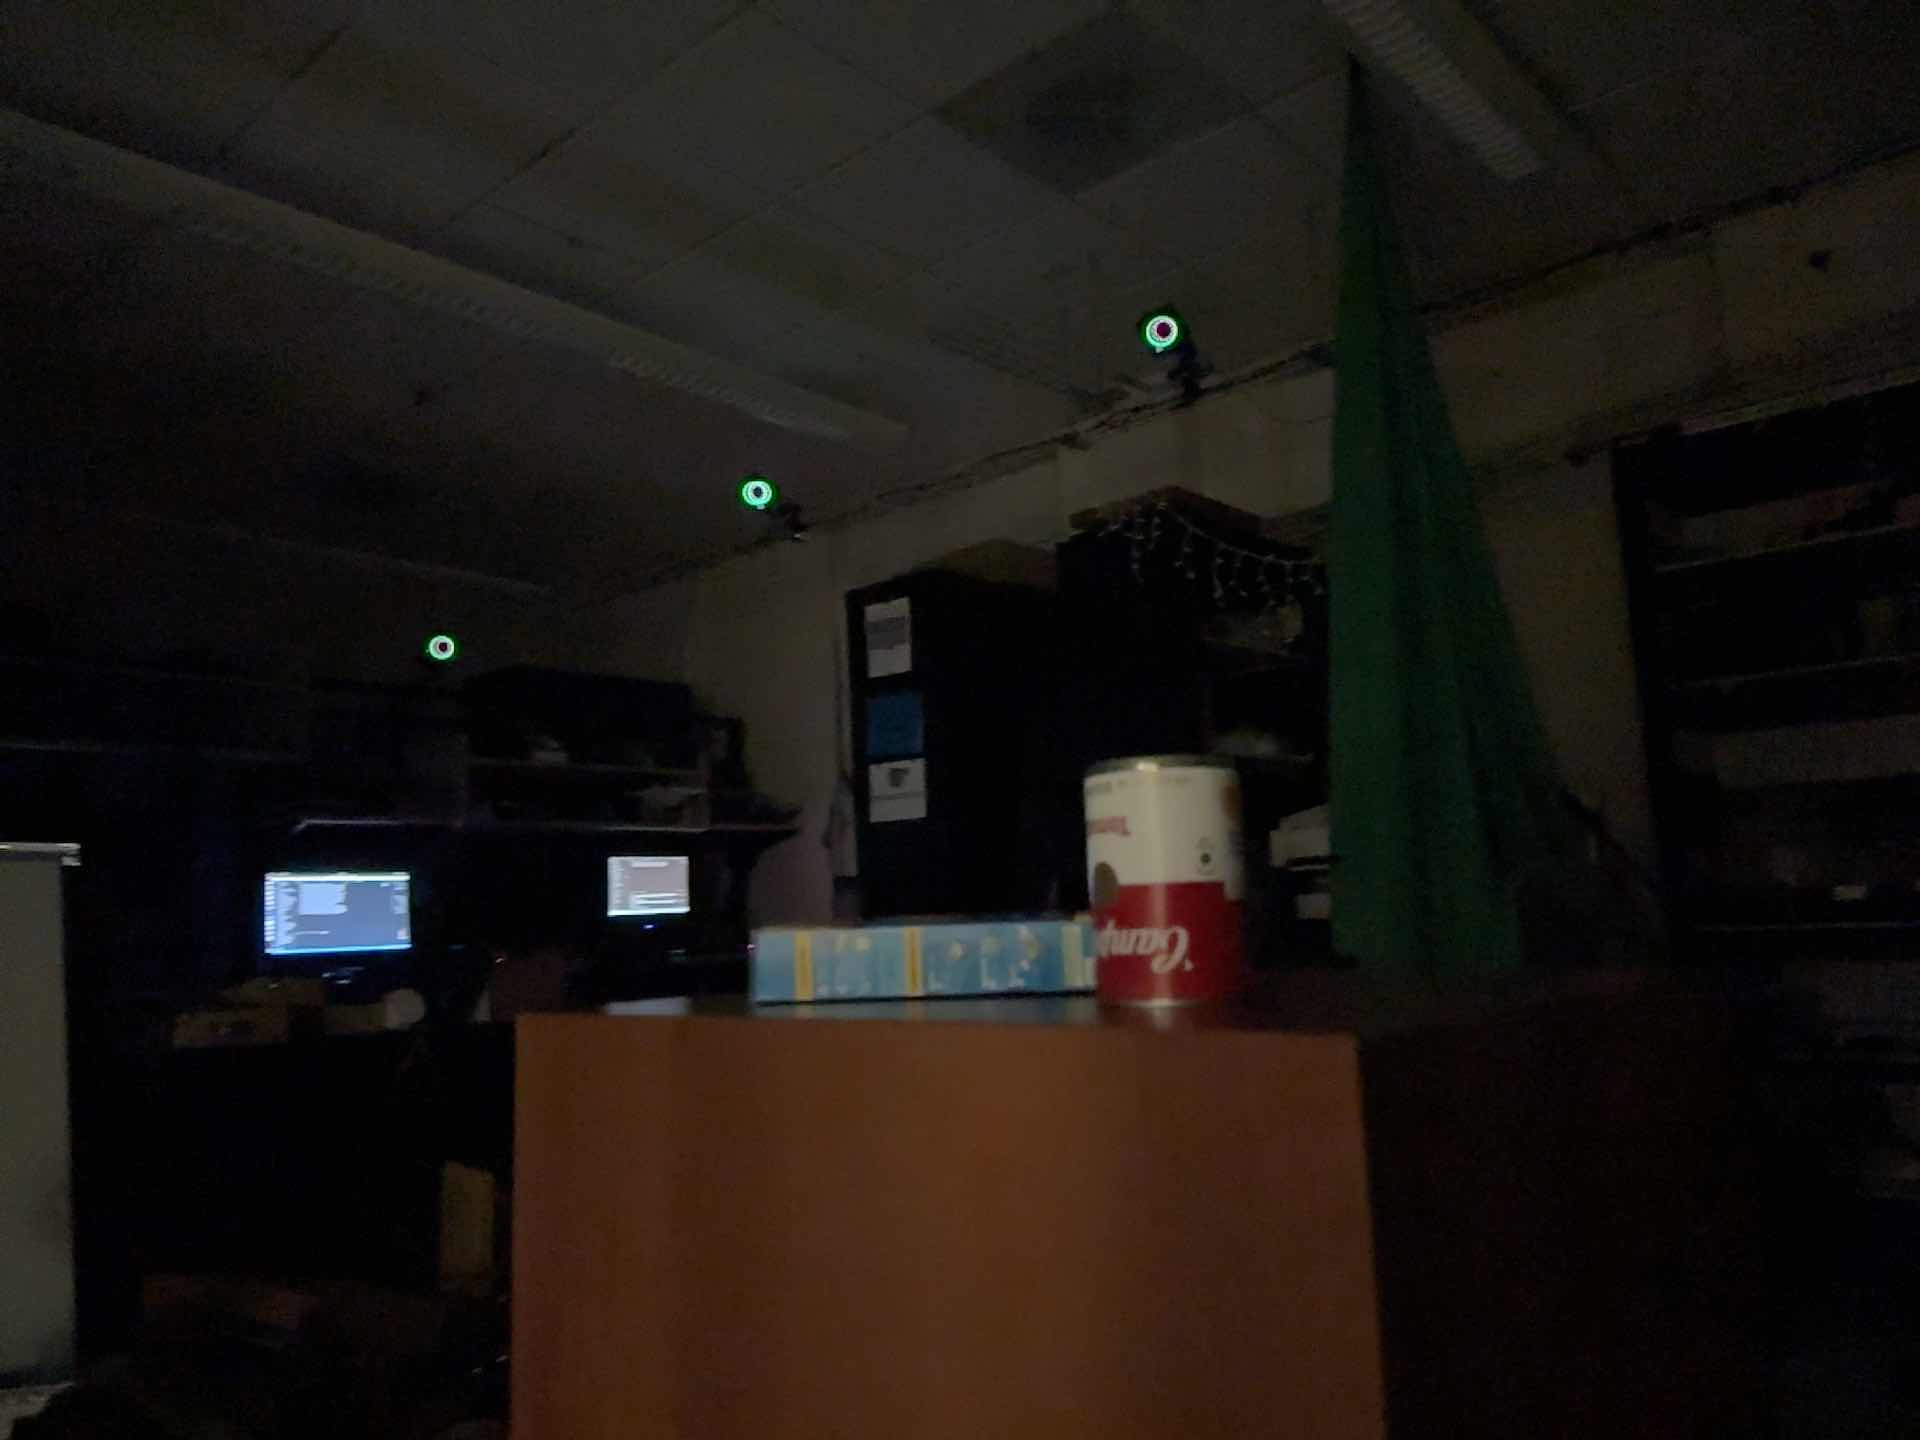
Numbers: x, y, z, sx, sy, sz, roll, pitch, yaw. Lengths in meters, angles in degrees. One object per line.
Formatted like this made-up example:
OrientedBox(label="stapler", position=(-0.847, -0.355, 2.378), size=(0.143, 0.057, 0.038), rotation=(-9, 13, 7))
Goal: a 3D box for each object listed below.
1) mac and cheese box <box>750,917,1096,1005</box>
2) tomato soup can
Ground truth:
OrientedBox(label="mac and cheese box", position=(-0.007, 0.124, 0.696), size=(0.181, 0.035, 0.088), rotation=(-2, -5, 6))
OrientedBox(label="tomato soup can", position=(0.088, 0.070, 0.574), size=(0.067, 0.102, 0.067), rotation=(-3, -6, 0))
